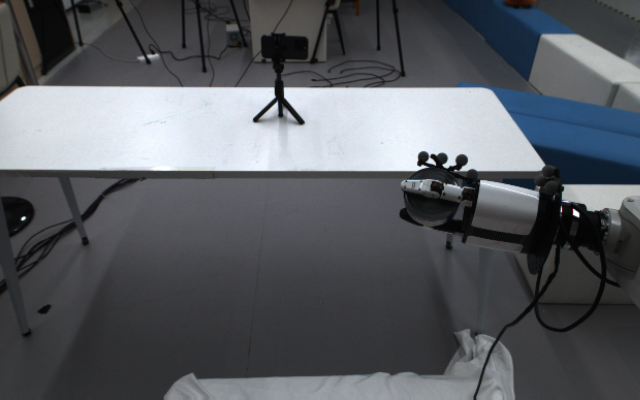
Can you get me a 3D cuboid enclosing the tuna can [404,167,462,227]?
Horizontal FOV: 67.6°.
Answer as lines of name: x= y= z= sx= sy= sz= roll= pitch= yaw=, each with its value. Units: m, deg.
tuna can: x=0.172 y=-0.006 z=0.739 sx=0.085 sy=0.034 sz=0.085 roll=-4 pitch=66 yaw=10
